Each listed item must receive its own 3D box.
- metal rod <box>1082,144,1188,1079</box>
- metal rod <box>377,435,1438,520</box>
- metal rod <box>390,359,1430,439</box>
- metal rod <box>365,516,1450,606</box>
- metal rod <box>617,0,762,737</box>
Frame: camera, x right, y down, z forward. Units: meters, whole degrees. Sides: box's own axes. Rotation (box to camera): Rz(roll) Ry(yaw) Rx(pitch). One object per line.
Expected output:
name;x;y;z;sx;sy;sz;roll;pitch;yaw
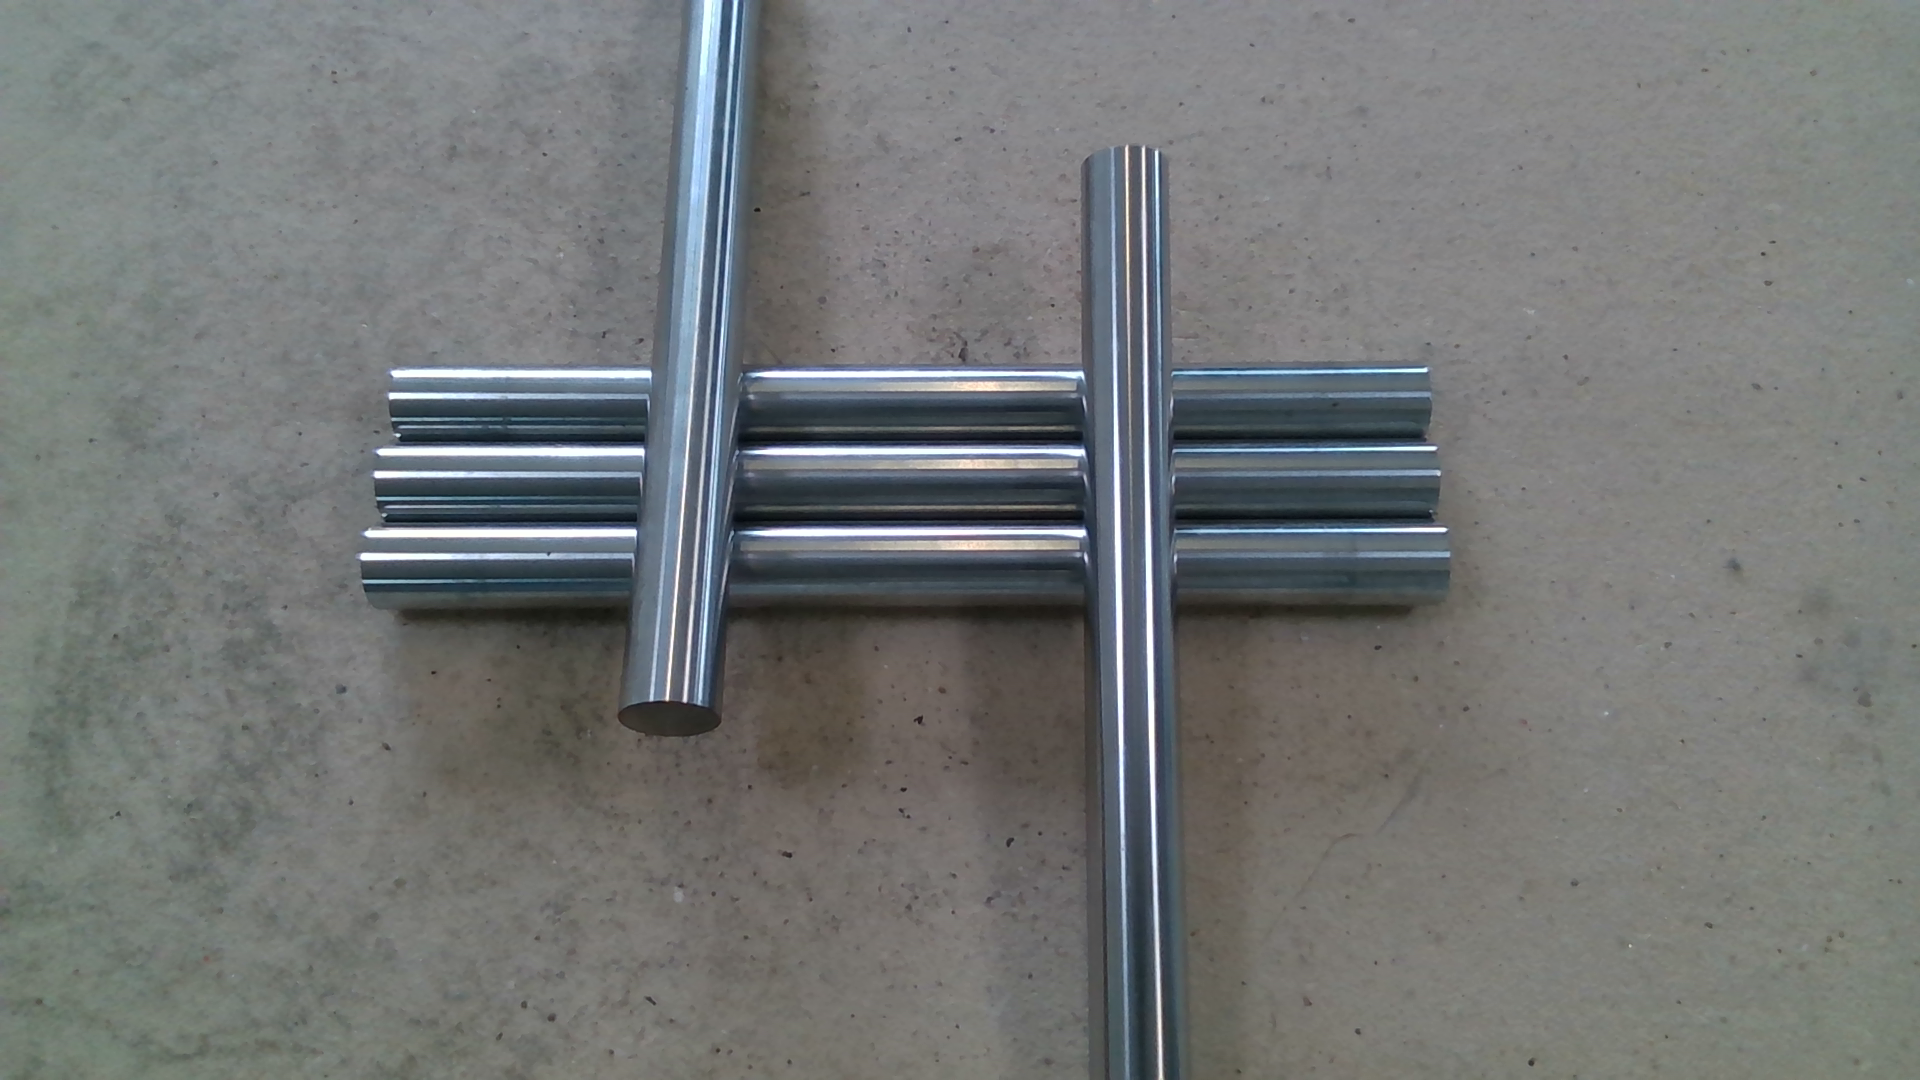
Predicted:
metal rod;0.045;0.040;0.361;0.025;0.025;0.299;1;78;0
metal rod;-0.015;-0.017;0.401;0.300;0.025;0.025;0;70;0
metal rod;-0.014;-0.041;0.410;0.300;0.025;0.025;0;70;0
metal rod;-0.015;0.006;0.393;0.300;0.025;0.025;0;70;0
metal rod;-0.075;-0.089;0.407;0.025;0.025;0.299;-1;63;0
